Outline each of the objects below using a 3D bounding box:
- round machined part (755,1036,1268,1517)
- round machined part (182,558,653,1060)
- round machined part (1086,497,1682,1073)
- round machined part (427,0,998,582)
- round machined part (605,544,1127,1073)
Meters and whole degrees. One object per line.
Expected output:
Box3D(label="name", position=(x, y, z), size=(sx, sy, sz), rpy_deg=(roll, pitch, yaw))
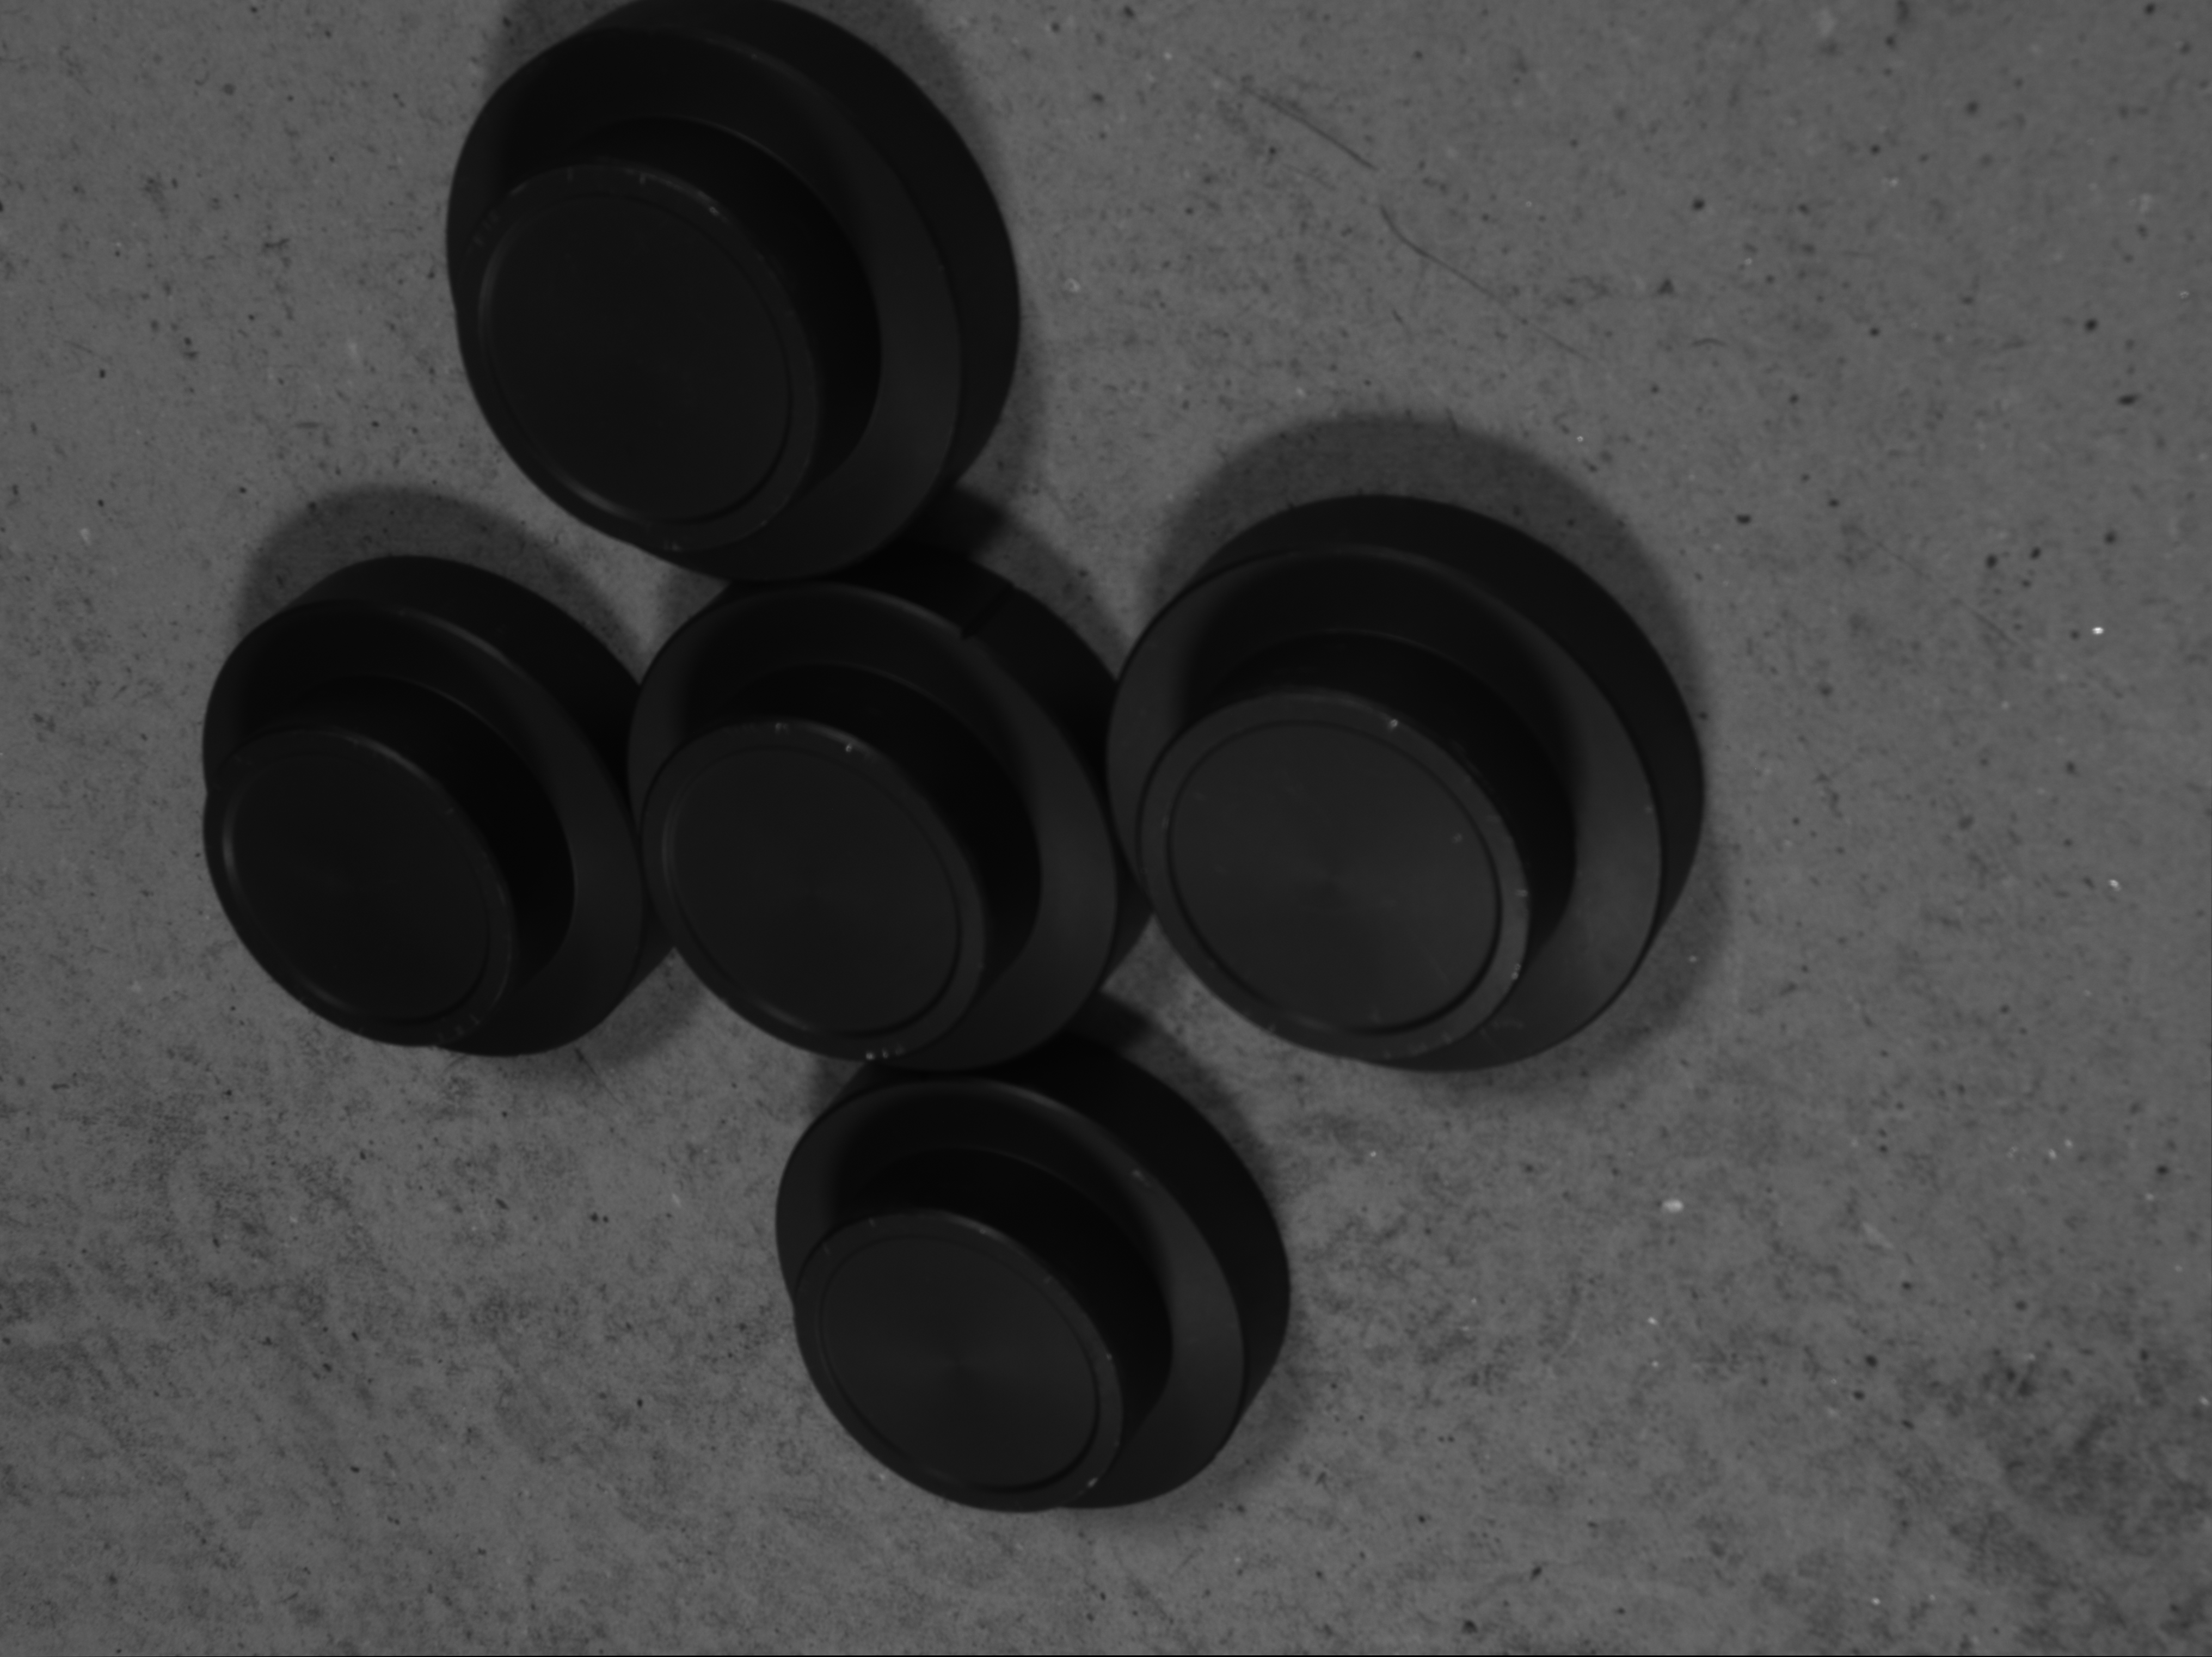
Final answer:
Box3D(label="round machined part", position=(-0.023, 0.089, 0.685), size=(0.098, 0.042, 0.098), rpy_deg=(12, 123, 20))
Box3D(label="round machined part", position=(-0.133, 0.002, 0.689), size=(0.098, 0.042, 0.098), rpy_deg=(12, 123, 20))
Box3D(label="round machined part", position=(0.041, -0.001, 0.599), size=(0.098, 0.042, 0.098), rpy_deg=(12, 123, 20))
Box3D(label="round machined part", position=(-0.071, -0.085, 0.605), size=(0.098, 0.042, 0.098), rpy_deg=(12, 123, 20))
Box3D(label="round machined part", position=(-0.046, 0.002, 0.645), size=(0.098, 0.042, 0.098), rpy_deg=(12, 123, 20))
